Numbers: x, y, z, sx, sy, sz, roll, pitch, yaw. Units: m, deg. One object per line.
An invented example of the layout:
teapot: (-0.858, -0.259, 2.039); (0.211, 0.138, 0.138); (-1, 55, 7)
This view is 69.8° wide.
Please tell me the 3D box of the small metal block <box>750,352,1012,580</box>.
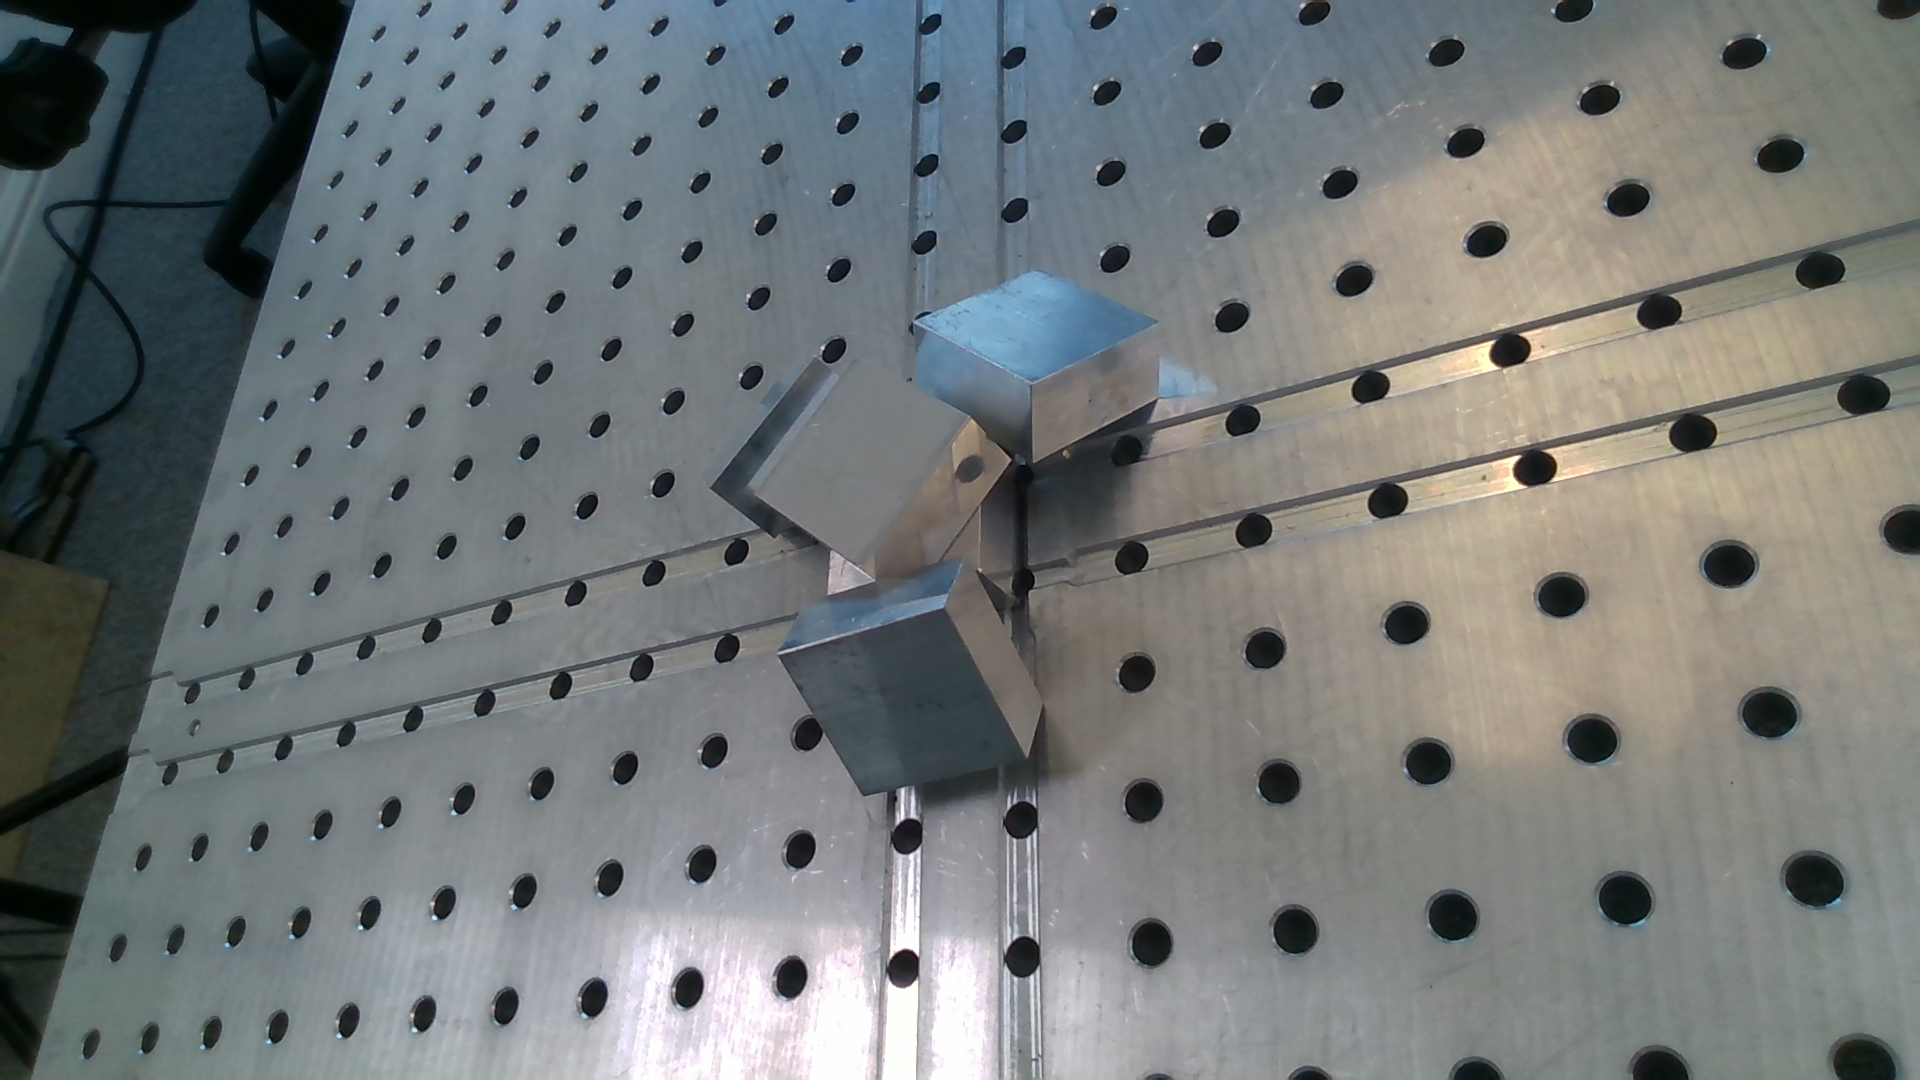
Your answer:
small metal block: (-0.023, -0.018, 0.387); (0.050, 0.025, 0.050); (32, 85, 38)

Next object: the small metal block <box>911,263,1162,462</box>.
small metal block: (0.022, -0.052, 0.394); (0.050, 0.025, 0.050); (-28, 43, -30)

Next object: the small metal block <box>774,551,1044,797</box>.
small metal block: (-0.012, 0.036, 0.365); (0.050, 0.050, 0.025); (-17, 25, 23)

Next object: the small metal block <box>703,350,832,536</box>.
small metal block: (-0.055, -0.031, 0.430); (0.050, 0.025, 0.050); (-52, 14, -2)

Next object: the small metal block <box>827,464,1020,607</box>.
small metal block: (-0.010, -0.004, 0.404); (0.050, 0.025, 0.050); (-15, 59, 28)
